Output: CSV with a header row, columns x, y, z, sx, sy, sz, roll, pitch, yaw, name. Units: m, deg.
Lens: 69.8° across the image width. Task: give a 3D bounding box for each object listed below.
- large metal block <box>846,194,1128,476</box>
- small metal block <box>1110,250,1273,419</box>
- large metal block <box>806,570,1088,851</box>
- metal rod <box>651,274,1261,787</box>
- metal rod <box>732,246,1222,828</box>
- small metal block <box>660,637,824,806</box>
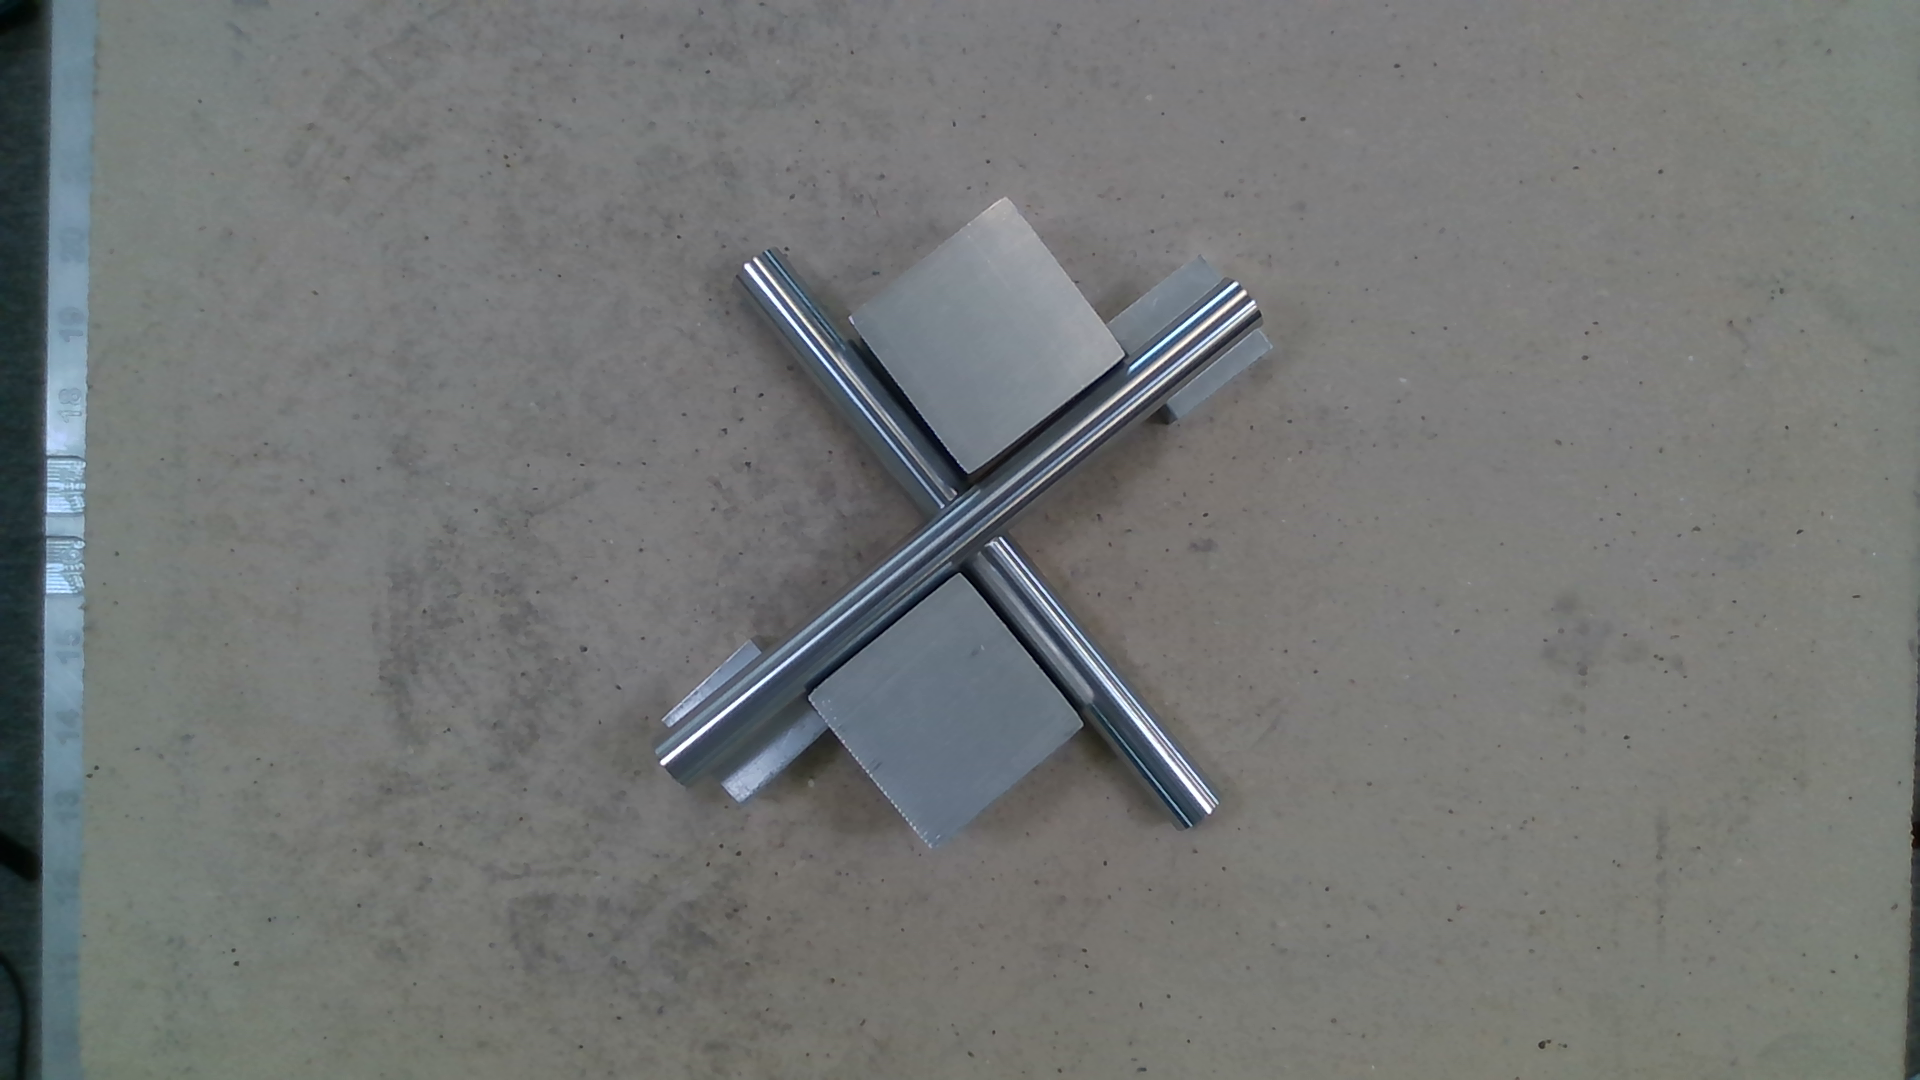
x,y,z,sx,sy,sz,roll,pitch,yaw,name
0.011,-0.082,0.573,0.080,0.050,0.080,-37,90,0,large metal block
0.096,-0.086,0.588,0.050,0.025,0.050,-37,90,0,small metal block
-0.005,0.068,0.576,0.080,0.050,0.080,-39,90,0,large metal block
-0.002,-0.004,0.562,0.300,0.025,0.025,-39,90,0,metal rod
0.007,-0.001,0.588,0.025,0.025,0.300,-39,90,0,metal rod
-0.090,0.076,0.589,0.050,0.025,0.050,-43,90,0,small metal block
